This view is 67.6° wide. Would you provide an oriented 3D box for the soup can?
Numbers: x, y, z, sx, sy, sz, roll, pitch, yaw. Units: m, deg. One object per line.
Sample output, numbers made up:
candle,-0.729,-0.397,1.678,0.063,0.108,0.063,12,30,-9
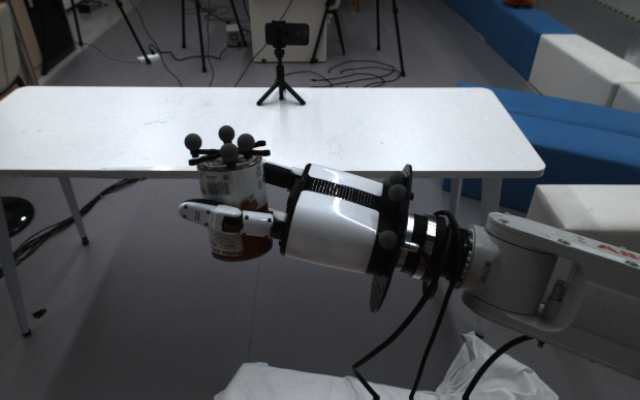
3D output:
soup can,-0.085,0.005,0.508,0.067,0.101,0.067,-4,21,2
